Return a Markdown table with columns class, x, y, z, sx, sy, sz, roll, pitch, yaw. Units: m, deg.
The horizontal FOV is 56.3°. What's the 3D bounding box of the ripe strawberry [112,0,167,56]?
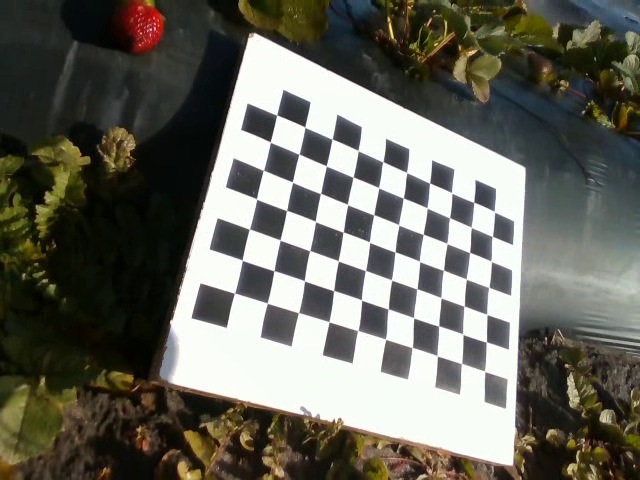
| class | x | y | z | sx | sy | sz | roll | pitch | yaw |
| --- | --- | --- | --- | --- | --- | --- | --- | --- | --- |
| ripe strawberry | -0.123 | -0.140 | 0.401 | 0.040 | 0.044 | 0.037 | 0 | -29 | -28 |
